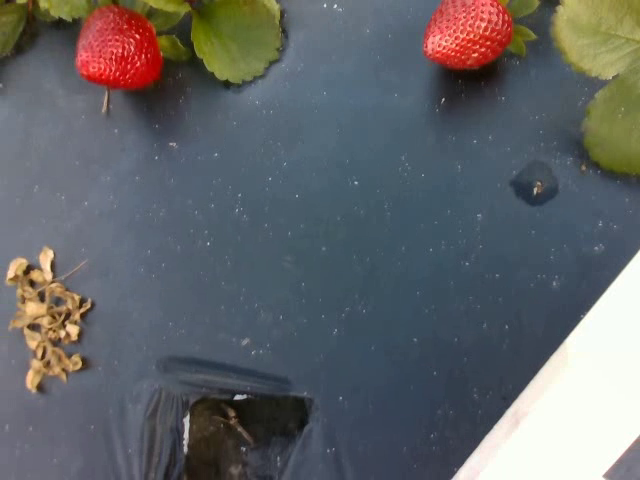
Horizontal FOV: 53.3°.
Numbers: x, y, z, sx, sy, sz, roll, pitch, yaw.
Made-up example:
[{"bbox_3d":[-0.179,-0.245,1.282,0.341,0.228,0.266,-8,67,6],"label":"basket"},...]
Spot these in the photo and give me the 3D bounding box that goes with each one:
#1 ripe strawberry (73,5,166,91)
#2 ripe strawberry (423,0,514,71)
[{"bbox_3d":[-0.098,-0.083,0.292,0.050,0.046,0.050,34,34,1],"label":"ripe strawberry"},{"bbox_3d":[0.056,-0.082,0.260,0.052,0.045,0.041,-37,6,-28],"label":"ripe strawberry"}]
